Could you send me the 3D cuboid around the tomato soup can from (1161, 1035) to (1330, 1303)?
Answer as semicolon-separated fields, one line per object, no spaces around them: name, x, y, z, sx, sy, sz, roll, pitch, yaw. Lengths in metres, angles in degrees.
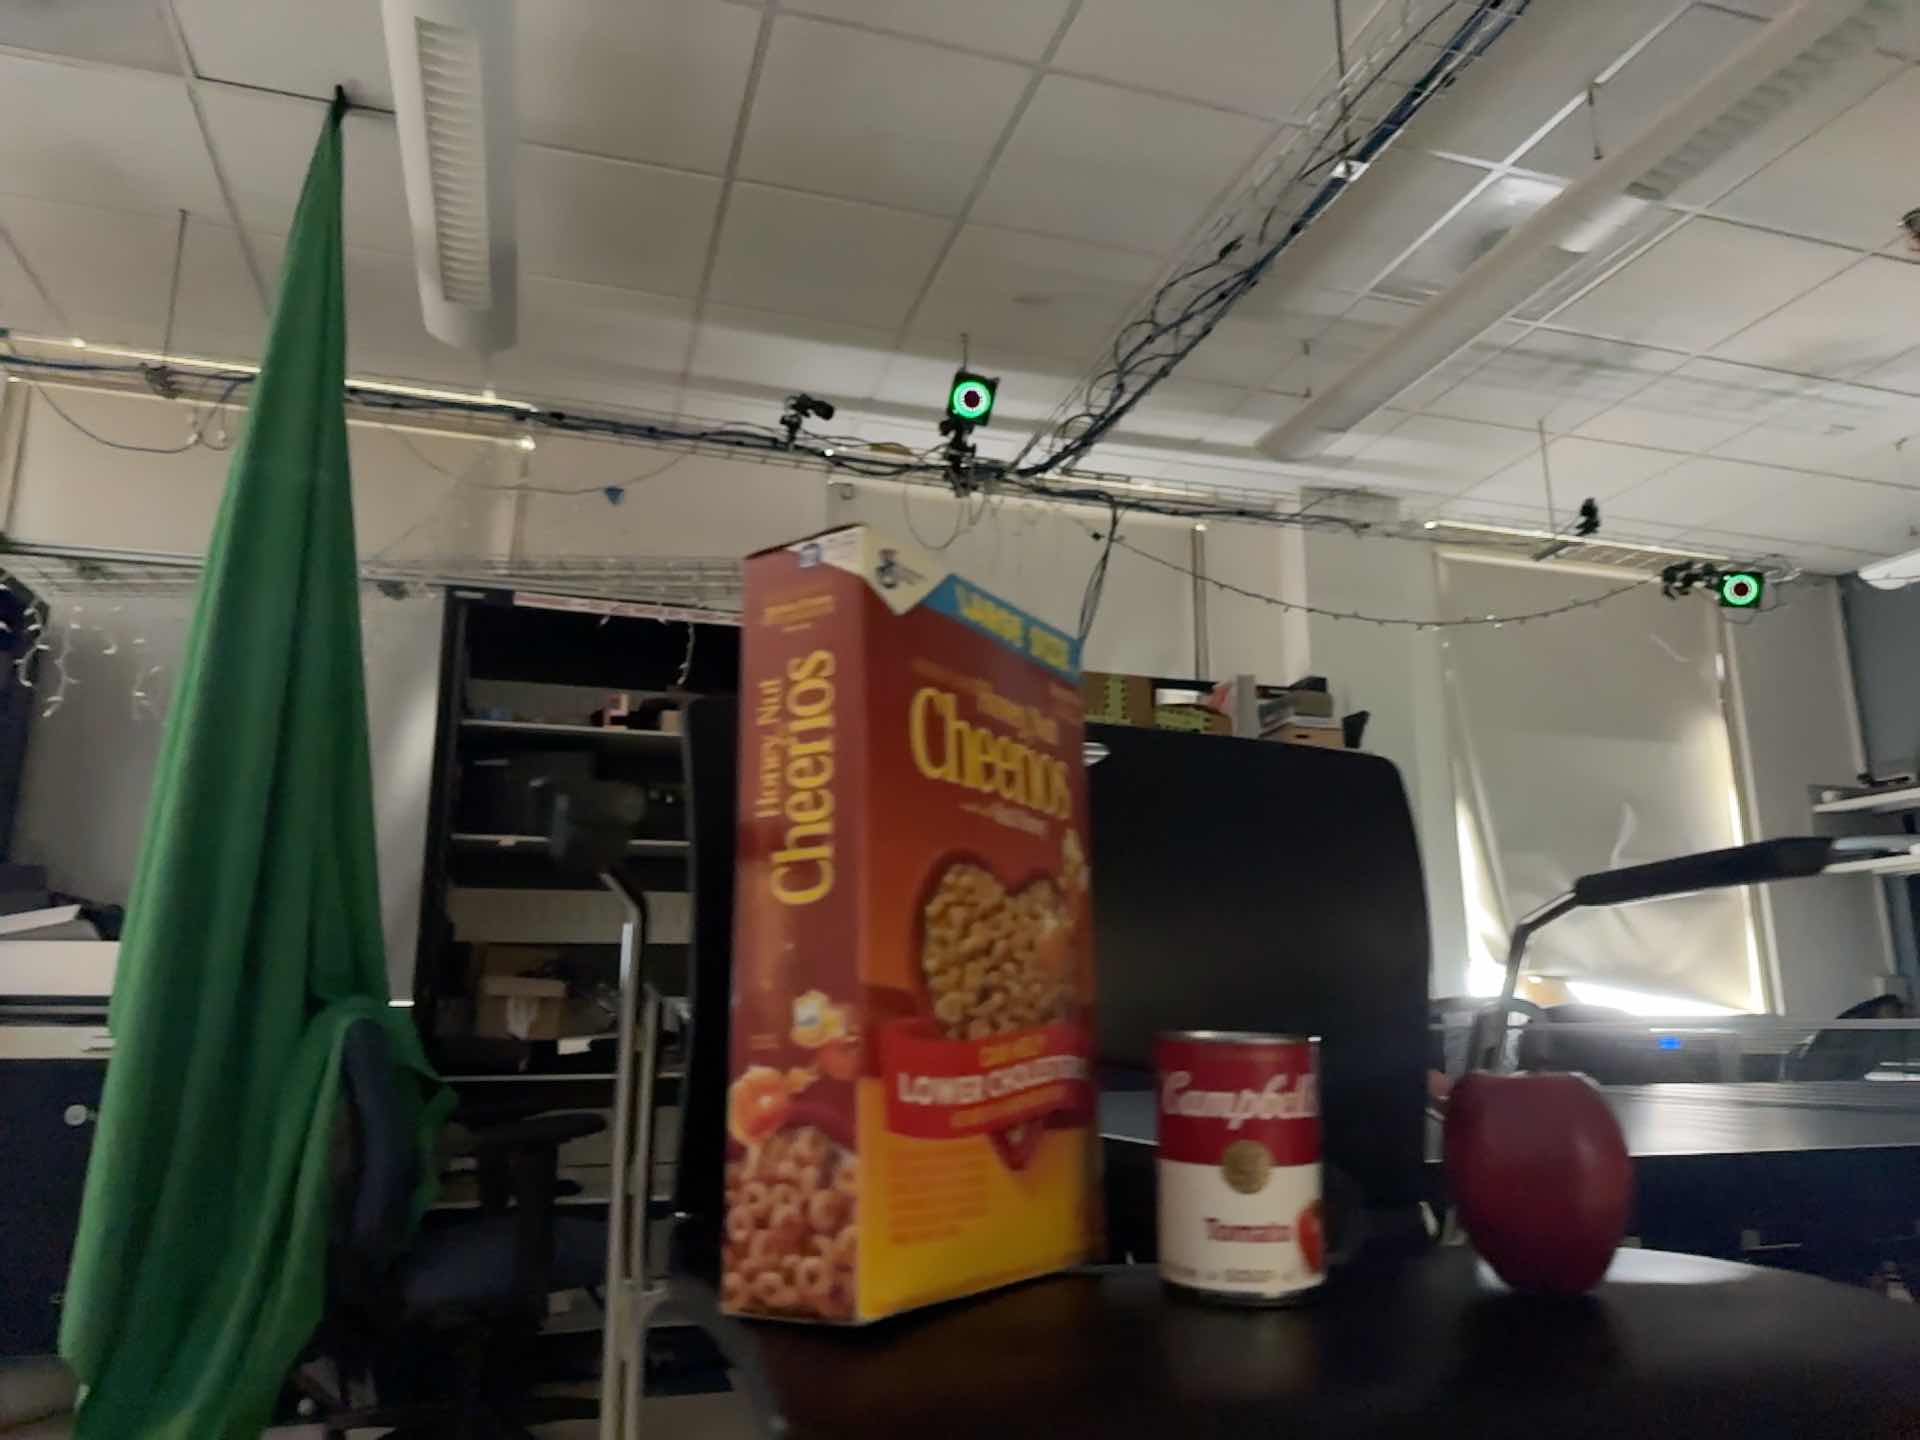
tomato soup can;0.120;0.186;0.571;0.067;0.102;0.067;1;-10;0

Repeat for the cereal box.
cereal box;-0.014;0.091;0.603;0.065;0.297;0.195;-7;-15;32

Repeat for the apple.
apple;0.250;0.191;0.575;0.079;0.093;0.079;1;-6;0
